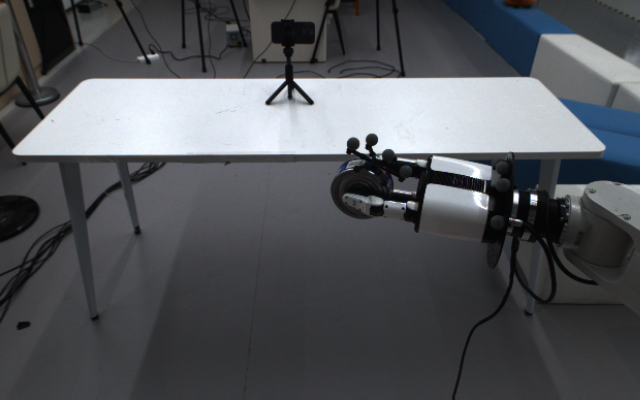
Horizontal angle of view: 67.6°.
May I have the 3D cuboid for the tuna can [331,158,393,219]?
[{"bbox_3d":[0.063,-0.010,0.685,0.085,0.085,0.034,12,36,14],"label":"tuna can"}]
